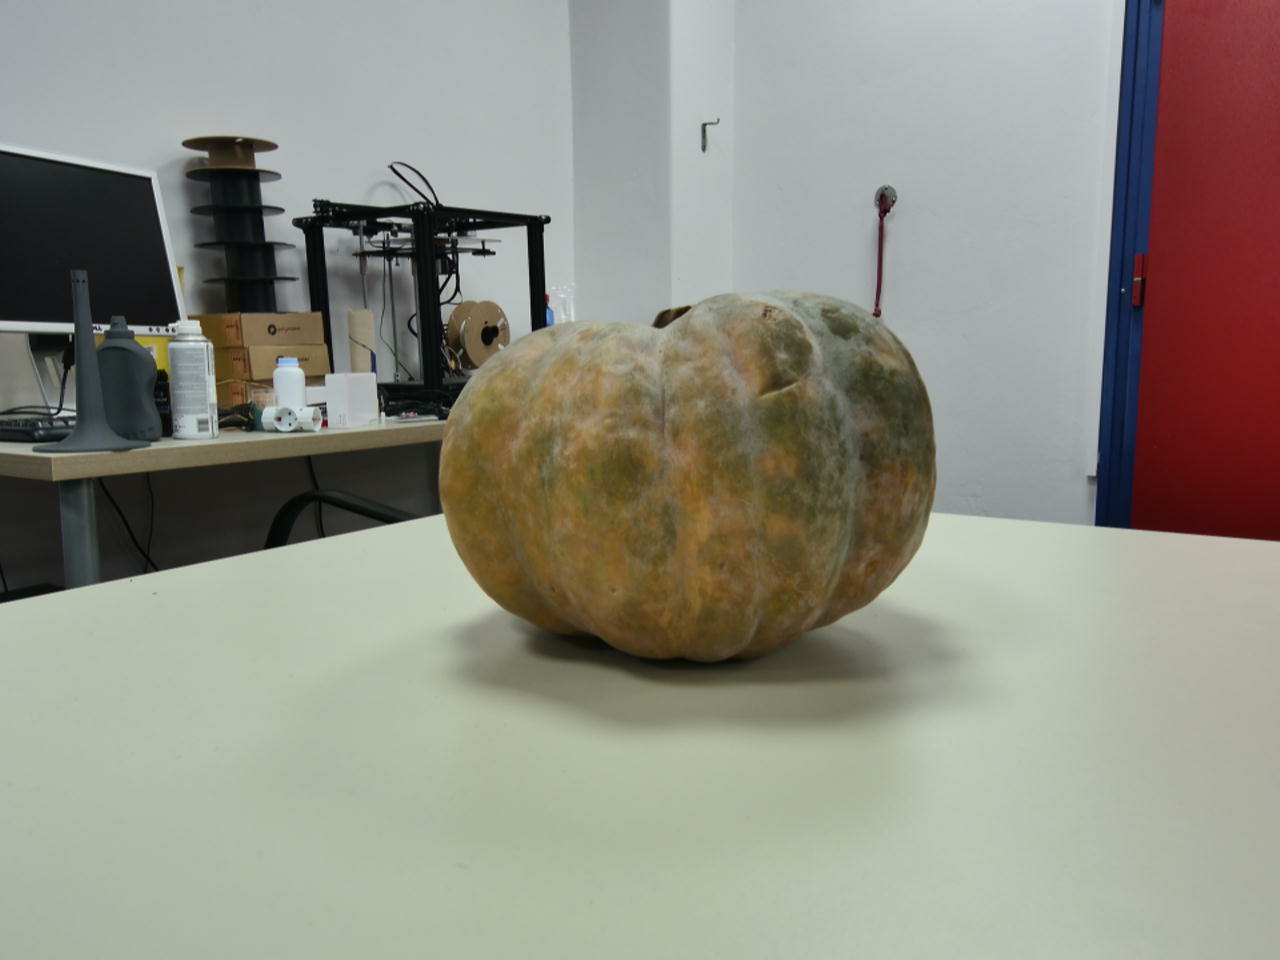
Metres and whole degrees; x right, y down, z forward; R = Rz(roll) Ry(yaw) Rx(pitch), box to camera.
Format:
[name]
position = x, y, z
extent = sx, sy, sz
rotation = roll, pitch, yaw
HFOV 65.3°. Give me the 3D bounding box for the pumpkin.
[pumpkin]
position = 0.021, -0.005, 0.502
extent = 0.252, 0.168, 0.252
rotation = 0, 6, 0
